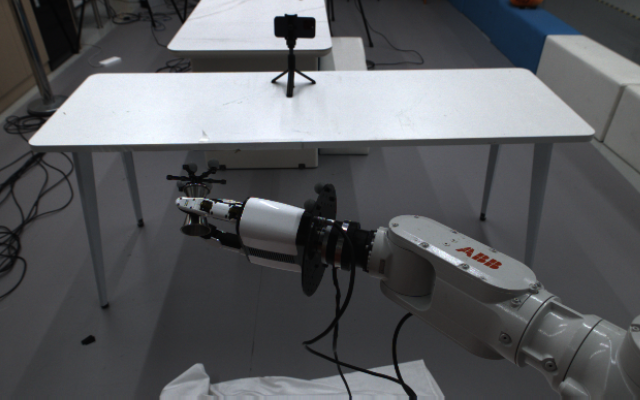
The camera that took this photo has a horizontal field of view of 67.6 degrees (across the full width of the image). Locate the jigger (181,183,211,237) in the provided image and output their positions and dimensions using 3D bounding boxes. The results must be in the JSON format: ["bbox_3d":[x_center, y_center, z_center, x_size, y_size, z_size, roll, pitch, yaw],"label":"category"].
[{"bbox_3d":[-0.185,0.015,0.722,0.043,0.043,0.071,-3,64,-7],"label":"jigger"}]
